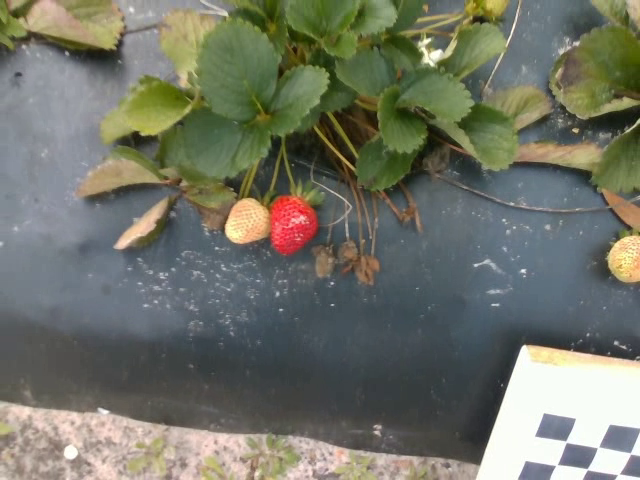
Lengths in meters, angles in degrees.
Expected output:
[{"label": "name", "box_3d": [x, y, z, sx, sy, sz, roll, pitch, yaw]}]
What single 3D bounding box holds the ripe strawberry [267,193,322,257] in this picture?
[{"label": "ripe strawberry", "box_3d": [-0.019, -0.009, 0.371, 0.034, 0.042, 0.033, 37, -35, -11]}]
